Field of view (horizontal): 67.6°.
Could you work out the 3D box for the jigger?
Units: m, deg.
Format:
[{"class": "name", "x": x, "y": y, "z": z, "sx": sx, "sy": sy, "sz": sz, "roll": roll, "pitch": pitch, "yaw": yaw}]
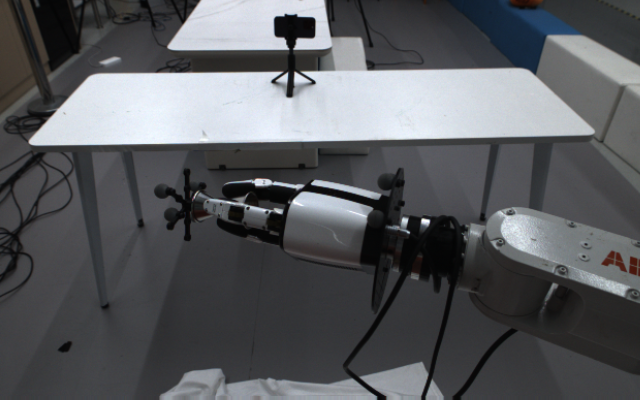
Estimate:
[{"class": "jigger", "x": -0.107, "y": 0.005, "z": 0.576, "sx": 0.071, "sy": 0.043, "sz": 0.043, "roll": 3, "pitch": 34, "yaw": 16}]
